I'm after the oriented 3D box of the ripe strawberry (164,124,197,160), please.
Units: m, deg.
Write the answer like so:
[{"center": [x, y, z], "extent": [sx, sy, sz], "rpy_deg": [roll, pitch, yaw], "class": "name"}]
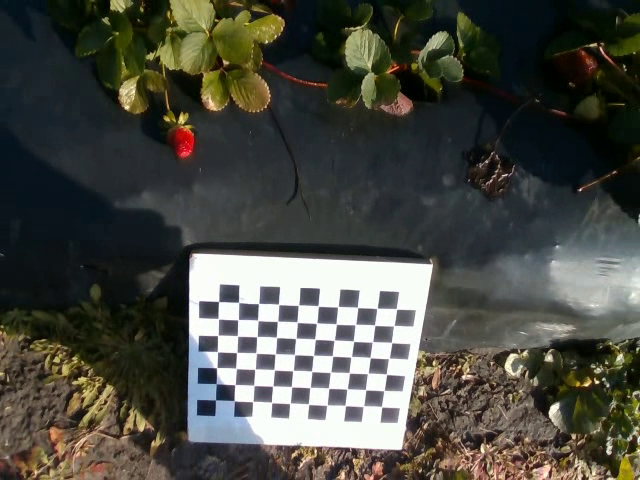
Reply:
[{"center": [-0.128, -0.092, 0.632], "extent": [0.028, 0.041, 0.031], "rpy_deg": [-20, -35, 7], "class": "ripe strawberry"}]
